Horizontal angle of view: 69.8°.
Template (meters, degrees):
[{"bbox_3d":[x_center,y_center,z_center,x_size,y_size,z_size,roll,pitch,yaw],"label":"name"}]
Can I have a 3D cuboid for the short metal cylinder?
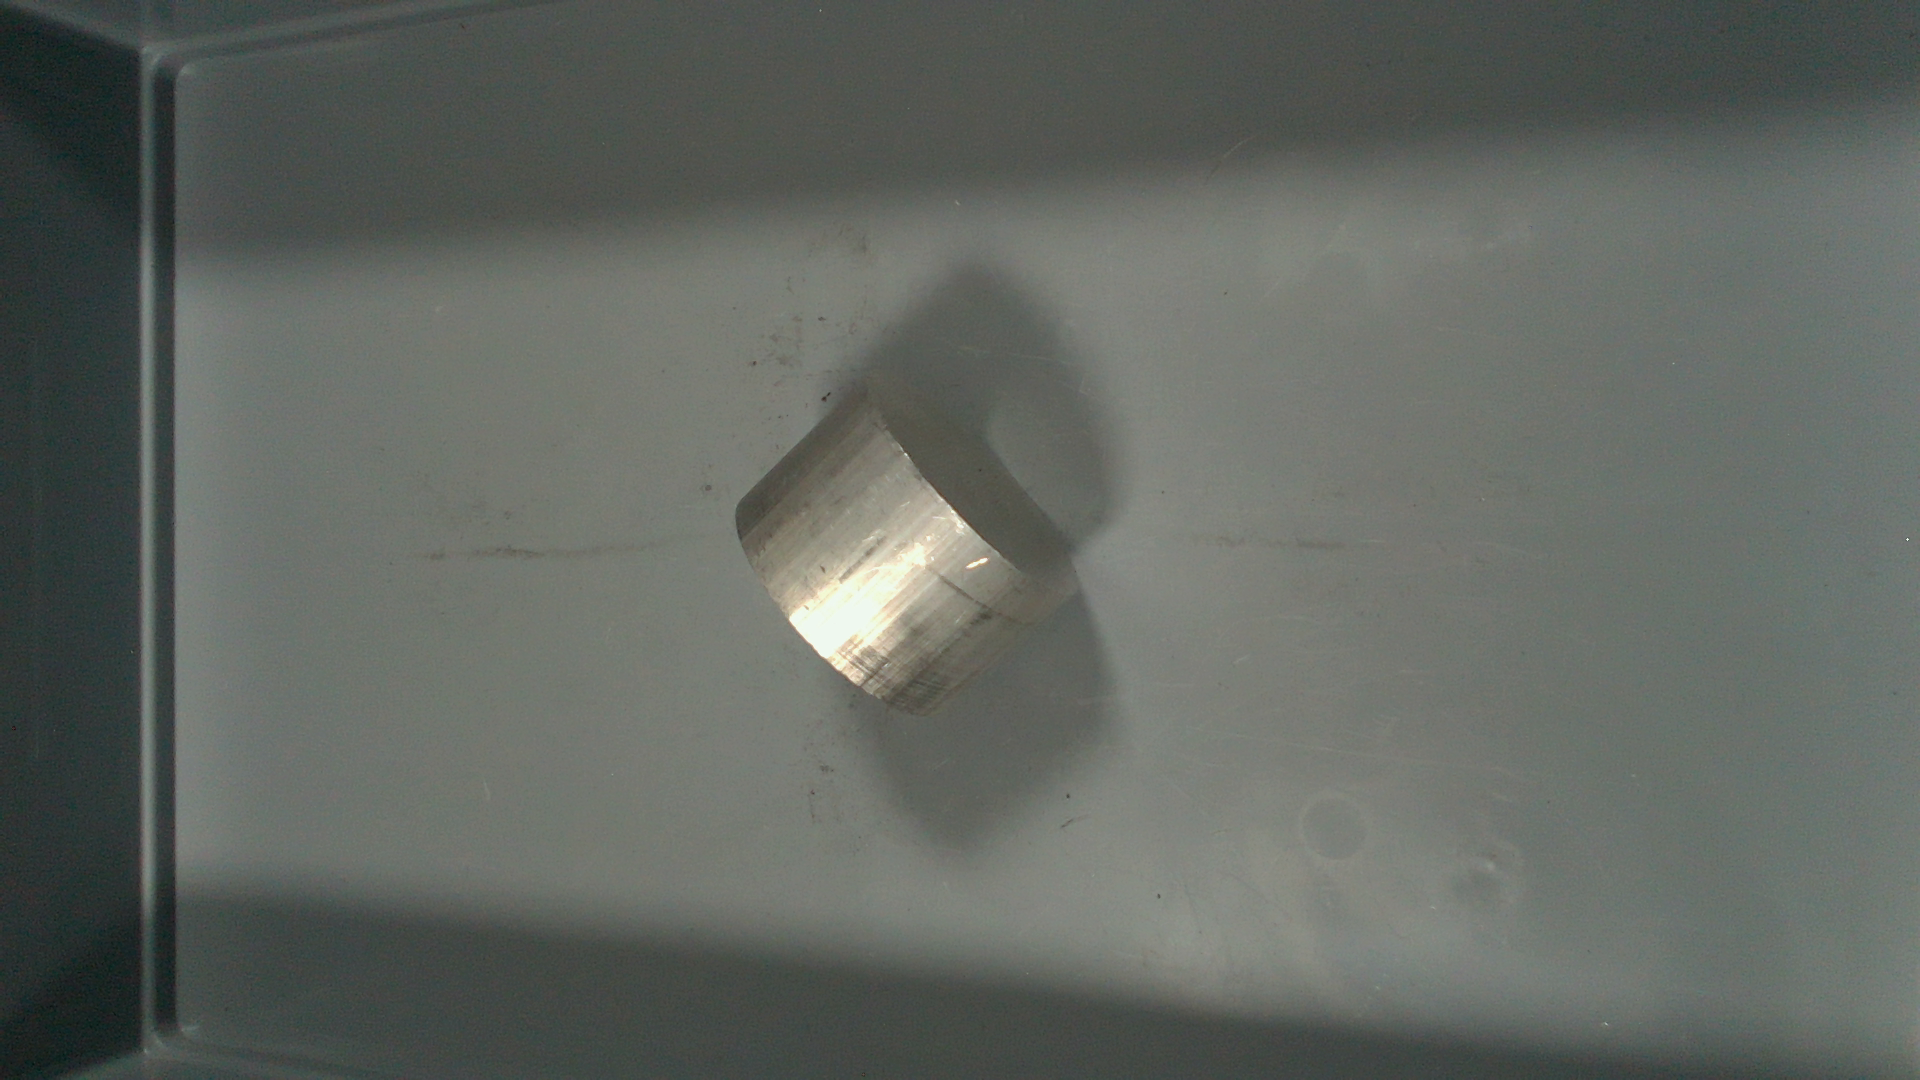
[{"bbox_3d":[-0.014,0.000,0.369,0.050,0.080,0.080,-43,77,15],"label":"short metal cylinder"}]
